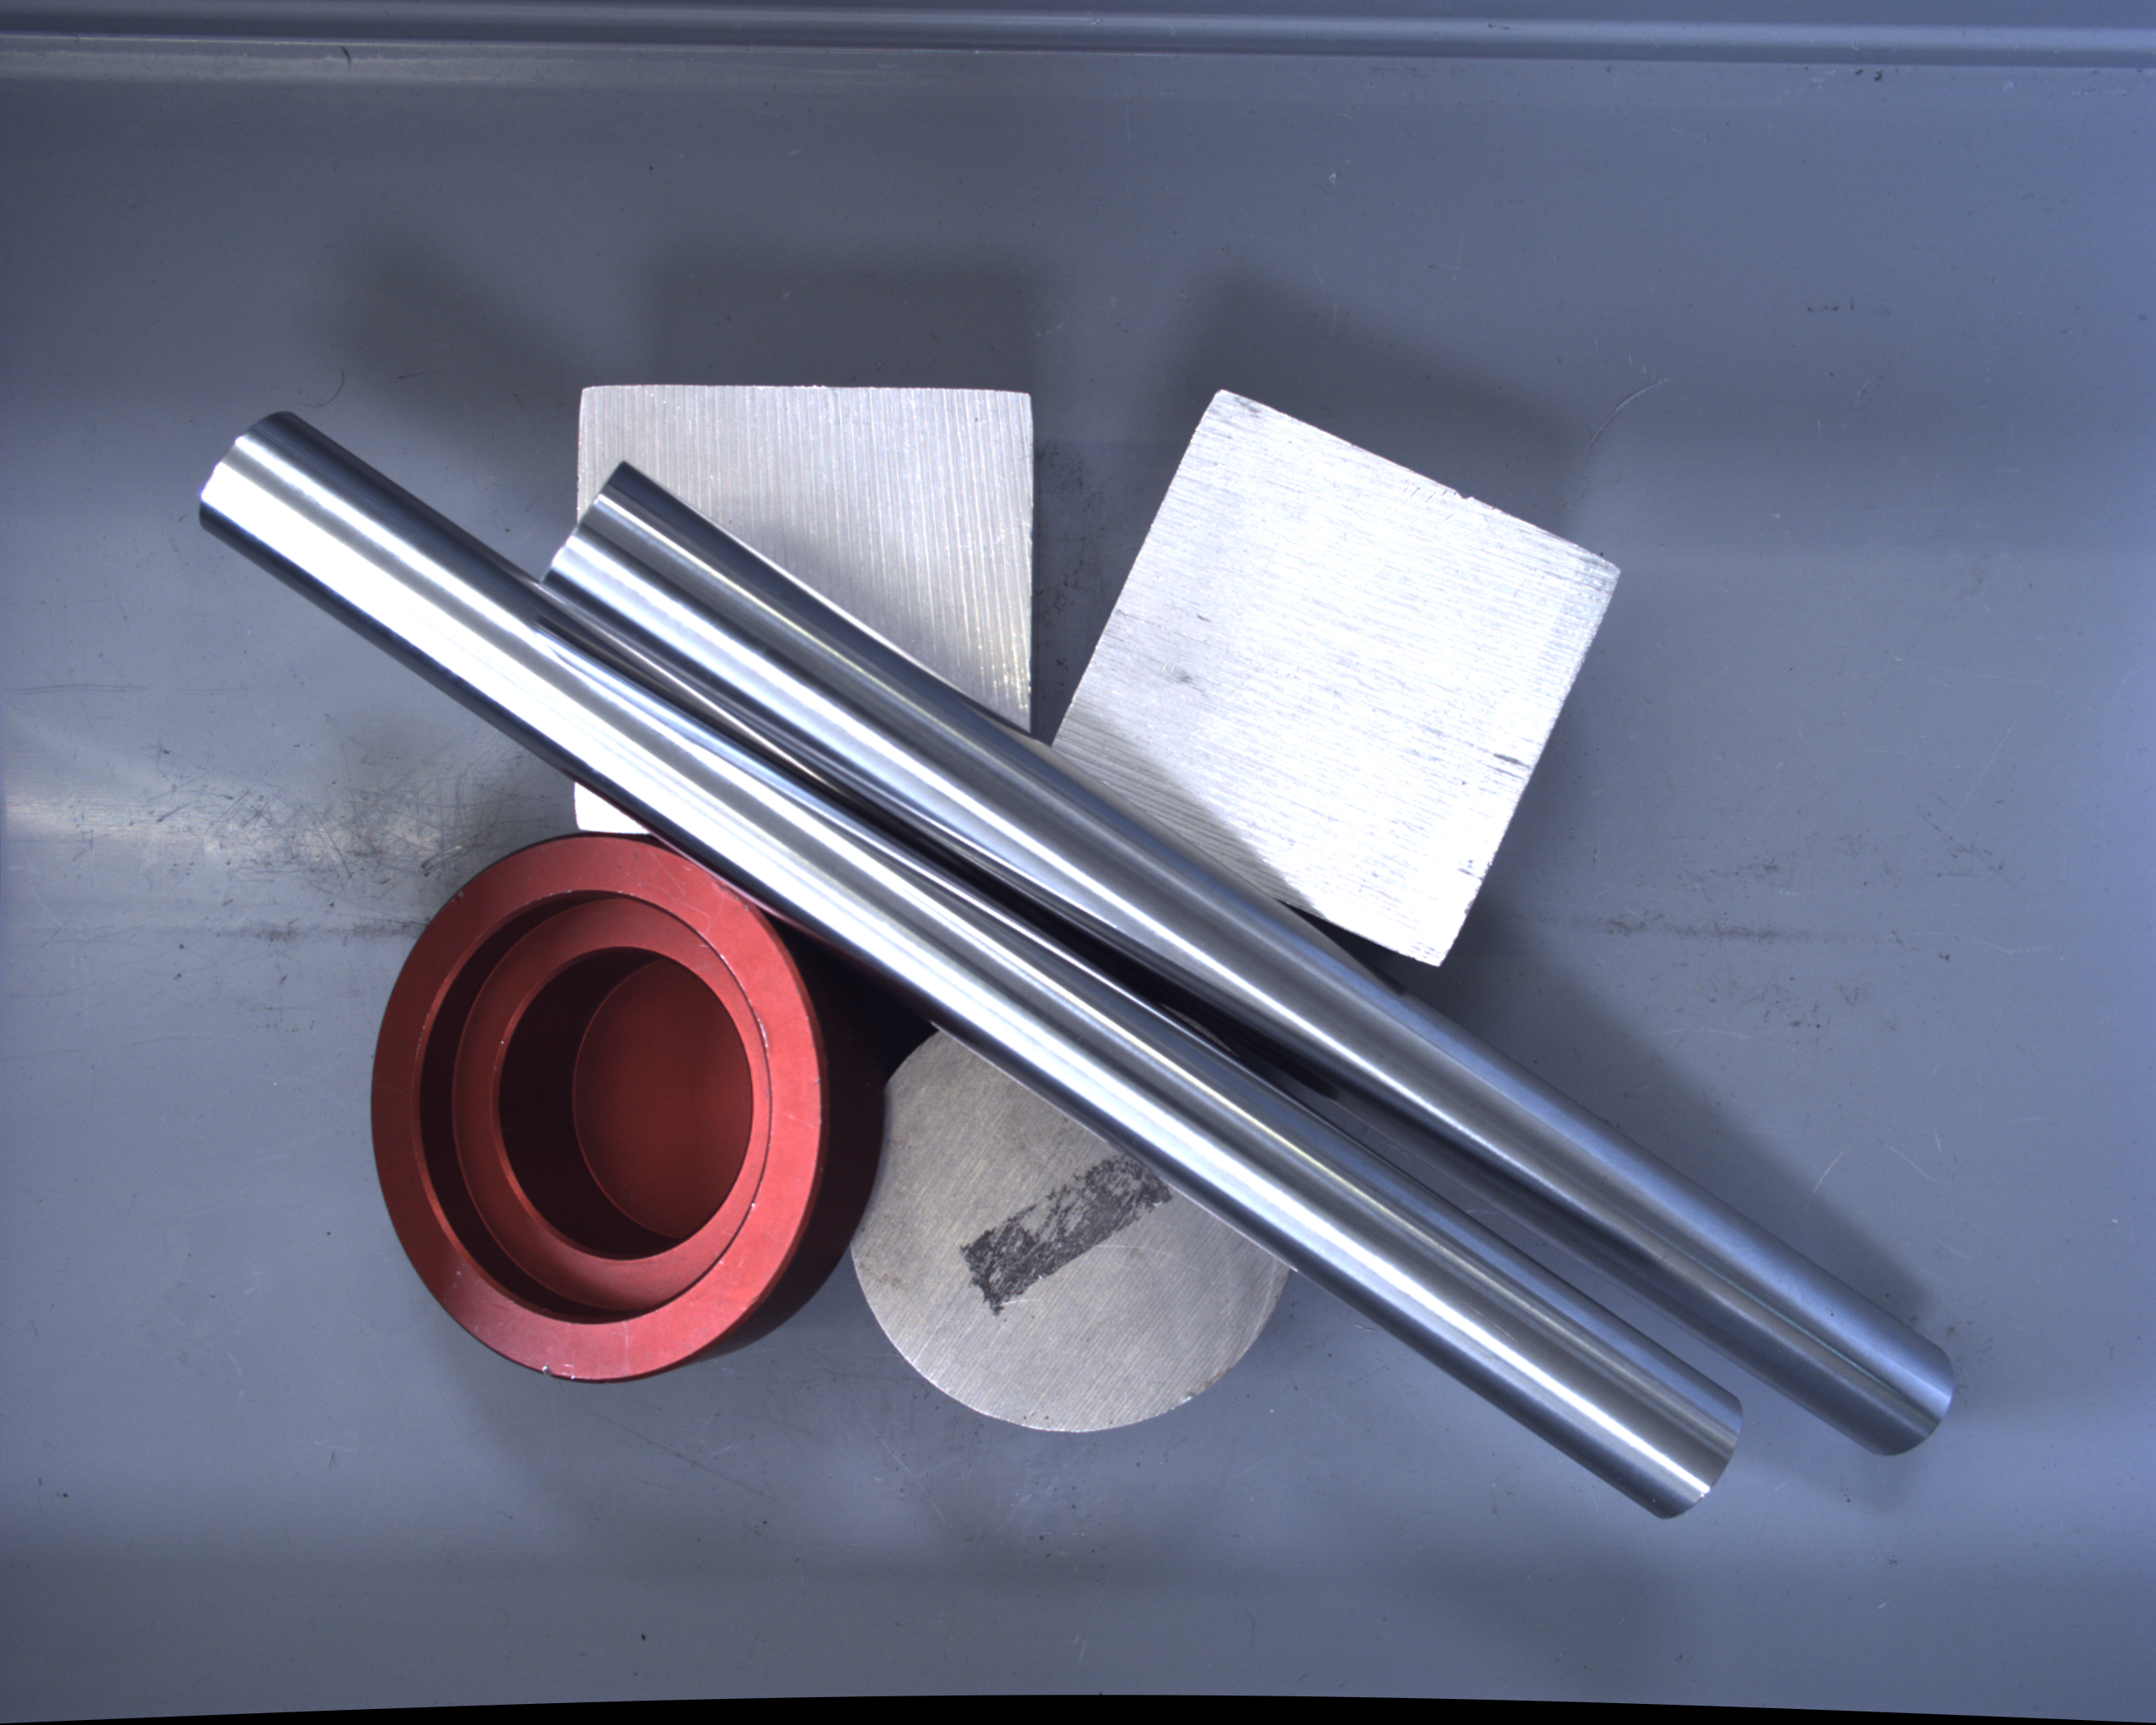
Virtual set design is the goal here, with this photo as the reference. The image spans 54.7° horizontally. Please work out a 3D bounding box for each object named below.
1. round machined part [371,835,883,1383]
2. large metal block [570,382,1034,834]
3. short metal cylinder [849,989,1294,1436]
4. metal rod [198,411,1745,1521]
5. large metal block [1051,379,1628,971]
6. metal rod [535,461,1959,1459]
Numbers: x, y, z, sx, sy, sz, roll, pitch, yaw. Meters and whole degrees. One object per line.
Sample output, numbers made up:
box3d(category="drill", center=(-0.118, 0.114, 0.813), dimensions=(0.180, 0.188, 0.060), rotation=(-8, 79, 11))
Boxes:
box3d(category="round machined part", center=(-0.079, 0.044, 0.389), dimensions=(0.098, 0.042, 0.097), rotation=(-1, 86, 23))
box3d(category="large metal block", center=(-0.049, -0.045, 0.393), dimensions=(0.081, 0.050, 0.079), rotation=(1, 90, 0))
box3d(category="short metal cylinder", center=(-0.001, 0.062, 0.396), dimensions=(0.081, 0.050, 0.079), rotation=(0, 90, 0))
box3d(category="metal rod", center=(-0.017, 0.018, 0.358), dimensions=(0.301, 0.025, 0.025), rotation=(34, 90, -1))
box3d(category="large metal block", center=(0.045, -0.034, 0.396), dimensions=(0.080, 0.050, 0.080), rotation=(24, 90, 0))
box3d(category="metal rod", center=(0.042, 0.026, 0.373), dimensions=(0.301, 0.025, 0.025), rotation=(33, 90, -15))
